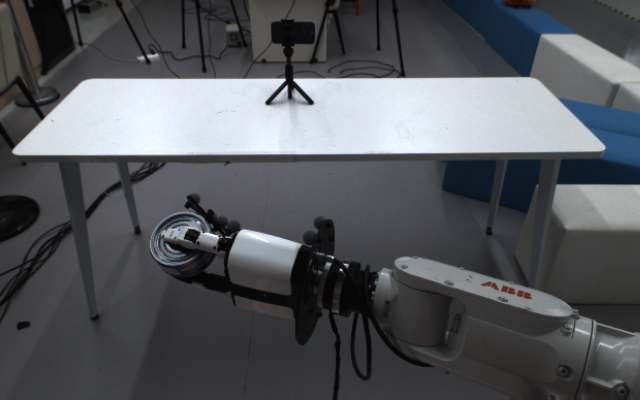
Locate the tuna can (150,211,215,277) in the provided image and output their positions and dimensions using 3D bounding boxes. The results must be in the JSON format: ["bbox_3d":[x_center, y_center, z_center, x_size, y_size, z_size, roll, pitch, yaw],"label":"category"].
[{"bbox_3d":[-0.182,0.060,0.652,0.085,0.034,0.085,-4,58,6],"label":"tuna can"}]
